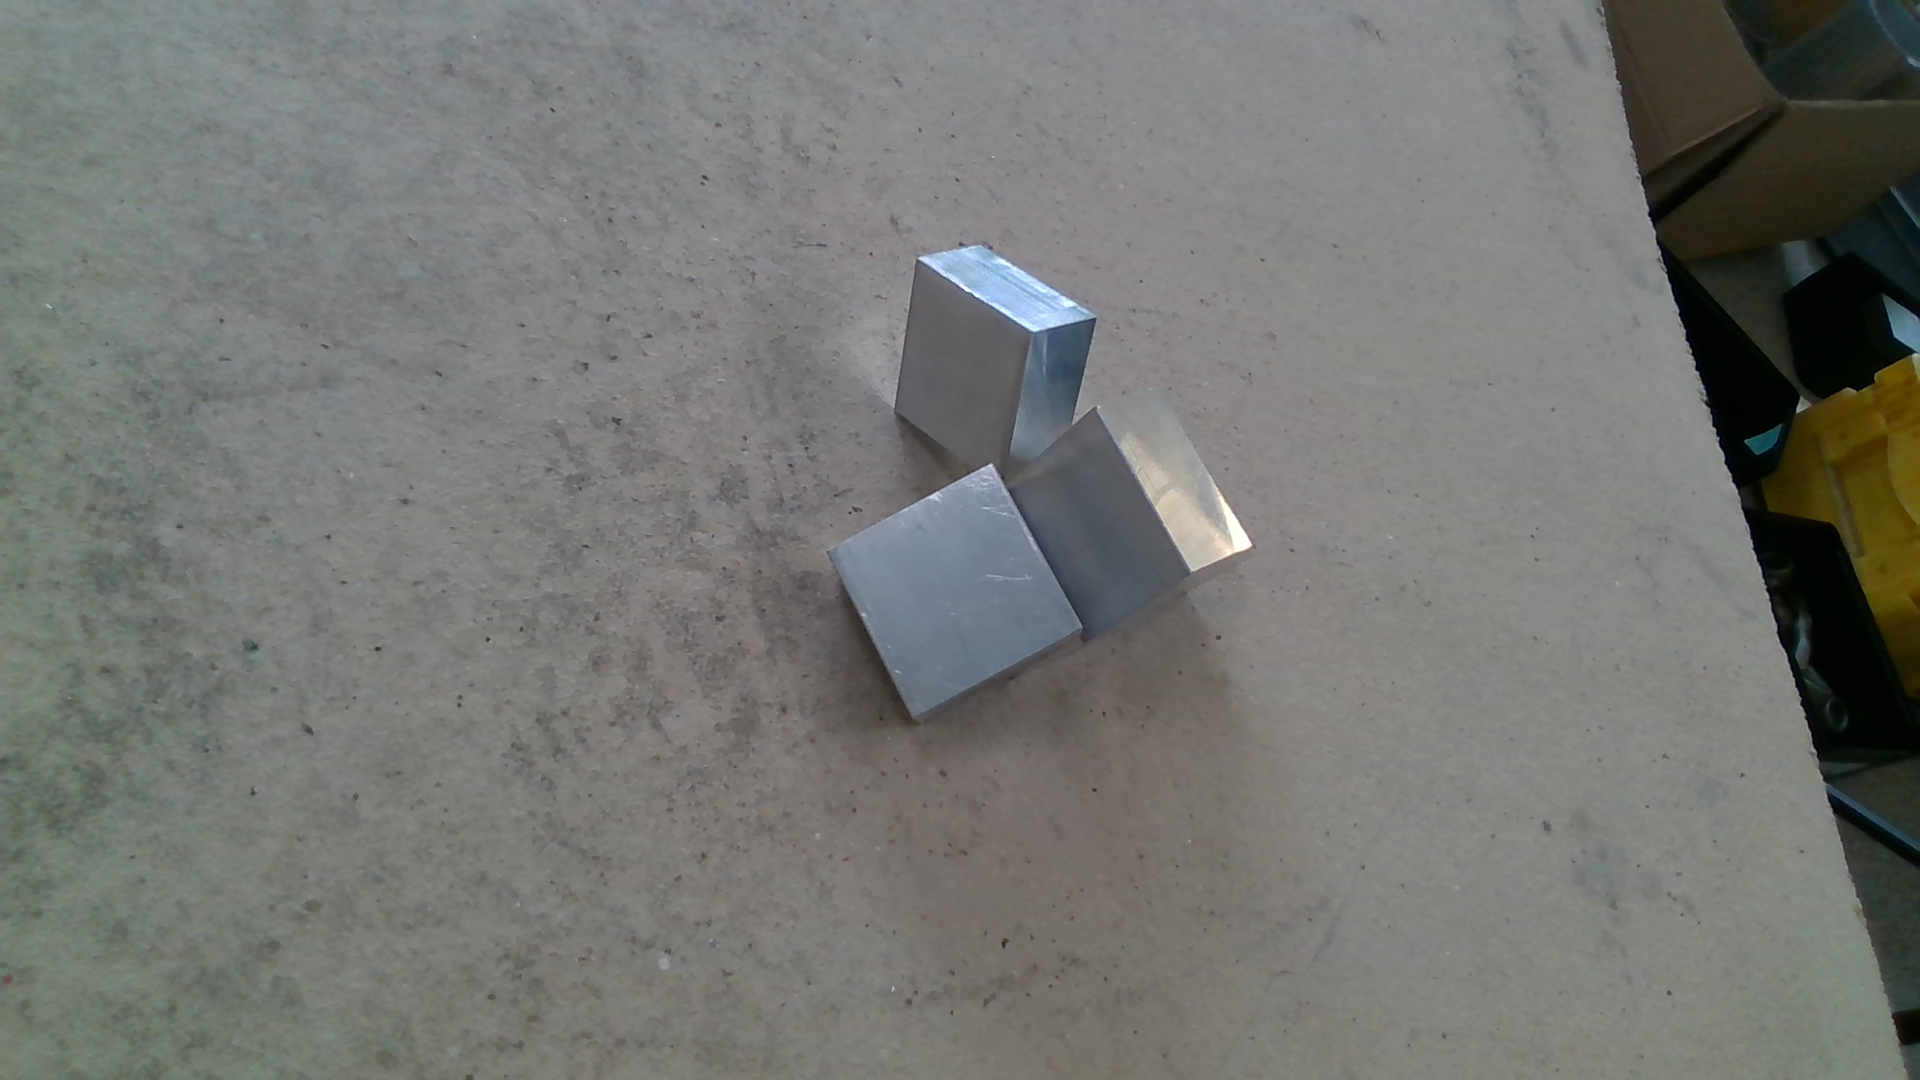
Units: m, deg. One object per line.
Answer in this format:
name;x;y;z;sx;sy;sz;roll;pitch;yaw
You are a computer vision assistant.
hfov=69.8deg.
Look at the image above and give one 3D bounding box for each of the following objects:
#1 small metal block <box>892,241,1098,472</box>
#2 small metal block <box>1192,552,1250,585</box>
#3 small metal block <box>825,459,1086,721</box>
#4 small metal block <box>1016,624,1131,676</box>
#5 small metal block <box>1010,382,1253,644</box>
small metal block;0.009;-0.052;0.398;0.025;0.050;0.050;-20;44;-37
small metal block;0.065;-0.013;0.424;0.050;0.025;0.050;62;12;11
small metal block;-0.001;0.014;0.369;0.050;0.025;0.050;-28;80;-2
small metal block;0.028;0.006;0.408;0.050;0.025;0.050;-20;74;-38
small metal block;0.044;-0.007;0.375;0.025;0.050;0.050;-21;77;-37
